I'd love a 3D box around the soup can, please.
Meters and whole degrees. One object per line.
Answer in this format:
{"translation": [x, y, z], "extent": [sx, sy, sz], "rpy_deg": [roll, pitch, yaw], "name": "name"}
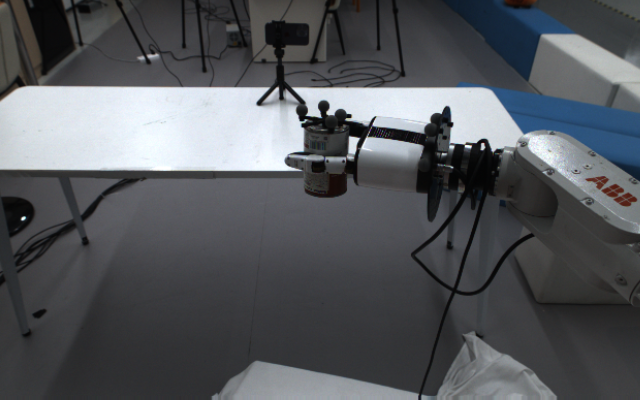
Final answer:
{"translation": [0.009, -0.062, 0.715], "extent": [0.067, 0.101, 0.067], "rpy_deg": [1, 25, 0], "name": "soup can"}
